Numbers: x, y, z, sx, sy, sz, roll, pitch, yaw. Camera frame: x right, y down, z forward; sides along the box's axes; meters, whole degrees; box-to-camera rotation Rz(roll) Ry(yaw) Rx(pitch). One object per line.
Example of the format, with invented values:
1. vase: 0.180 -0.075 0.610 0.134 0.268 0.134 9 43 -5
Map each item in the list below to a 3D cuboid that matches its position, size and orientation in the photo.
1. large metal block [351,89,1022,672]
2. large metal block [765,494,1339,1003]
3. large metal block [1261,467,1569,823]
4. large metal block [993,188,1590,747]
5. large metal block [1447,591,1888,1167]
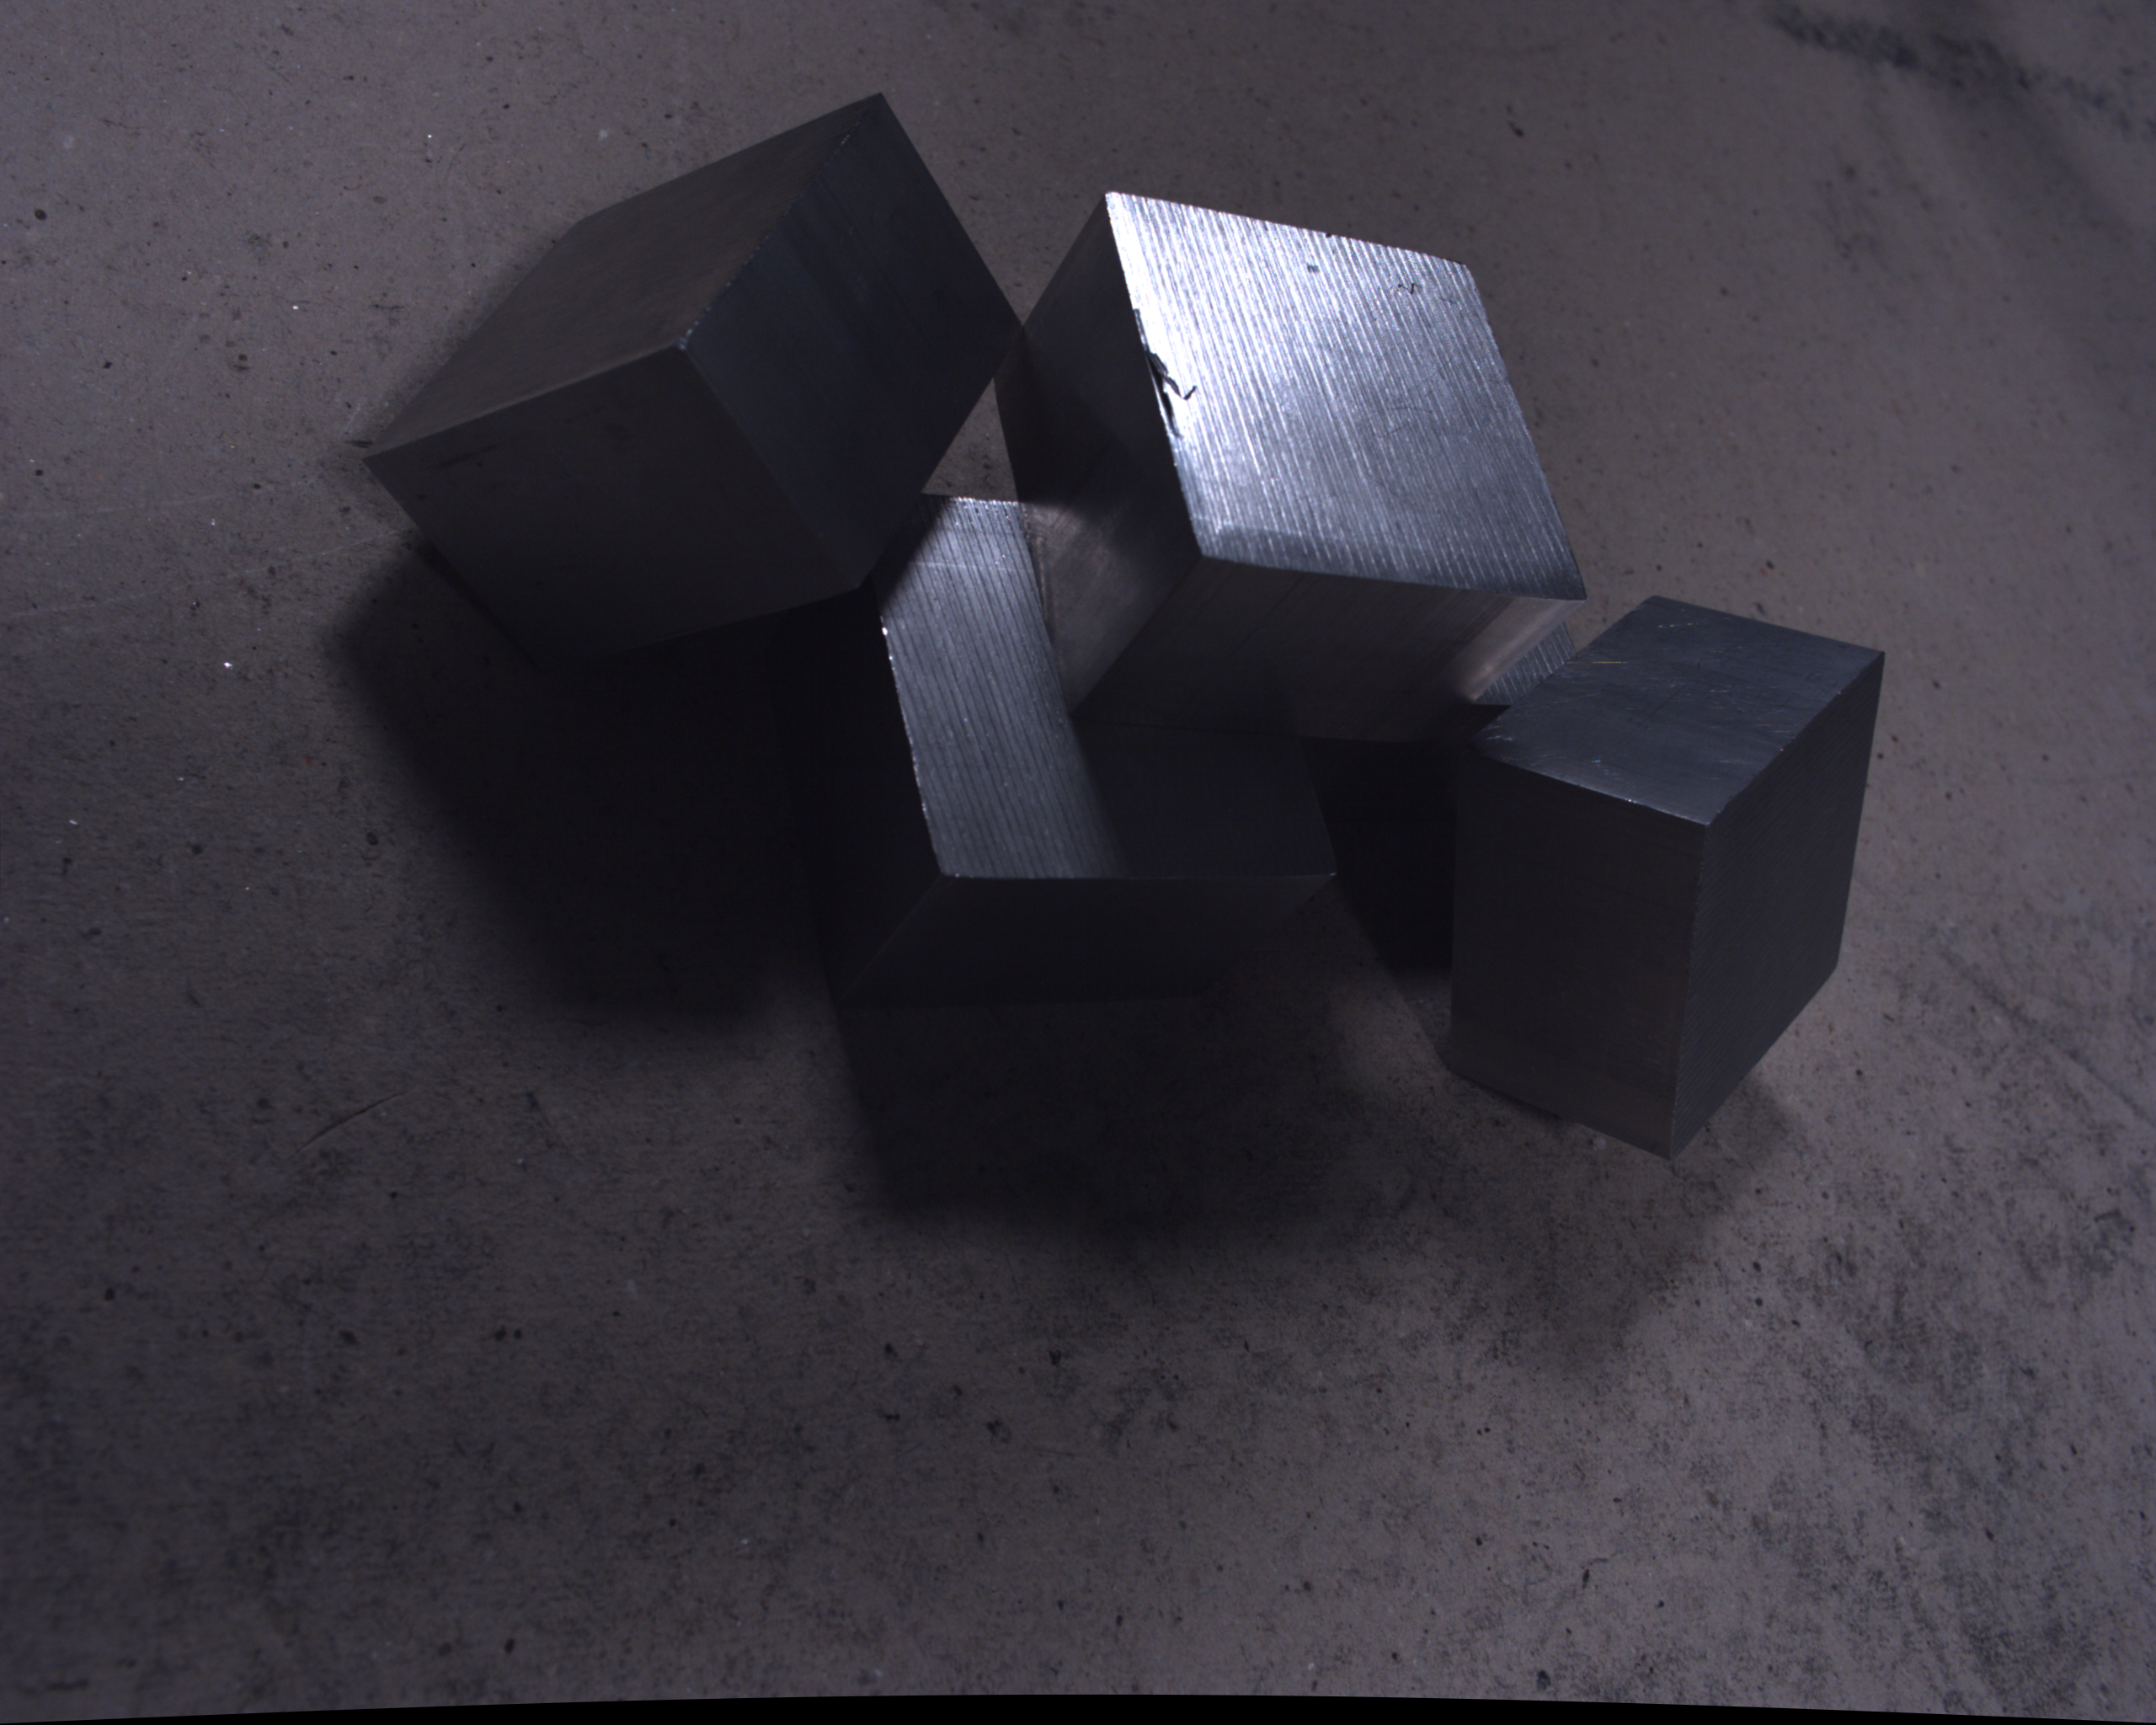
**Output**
1. large metal block: -0.068 -0.086 0.378 0.050 0.080 0.080 55 43 -33
2. large metal block: -0.007 -0.021 0.397 0.081 0.050 0.080 0 62 -29
3. large metal block: 0.053 -0.056 0.454 0.081 0.050 0.080 0 62 -29
4. large metal block: 0.037 -0.070 0.387 0.081 0.050 0.080 2 61 -28
5. large metal block: 0.120 0.001 0.428 0.050 0.079 0.081 22 41 34
